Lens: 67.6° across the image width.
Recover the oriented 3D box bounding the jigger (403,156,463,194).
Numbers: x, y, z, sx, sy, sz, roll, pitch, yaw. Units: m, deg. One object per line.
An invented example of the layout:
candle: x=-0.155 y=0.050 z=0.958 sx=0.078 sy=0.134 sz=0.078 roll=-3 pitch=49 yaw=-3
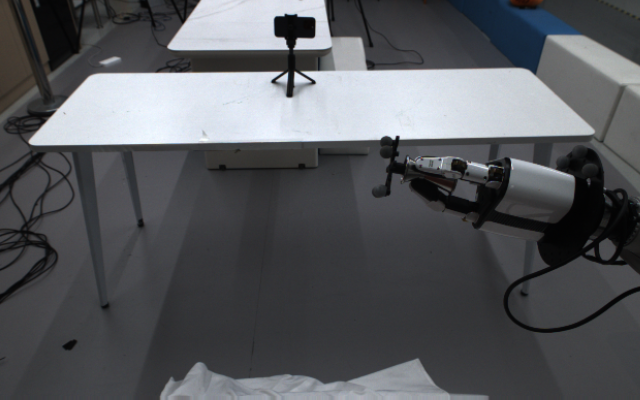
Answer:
jigger: x=0.151 y=-0.038 z=0.645 sx=0.071 sy=0.043 sz=0.043 roll=11 pitch=35 yaw=2
